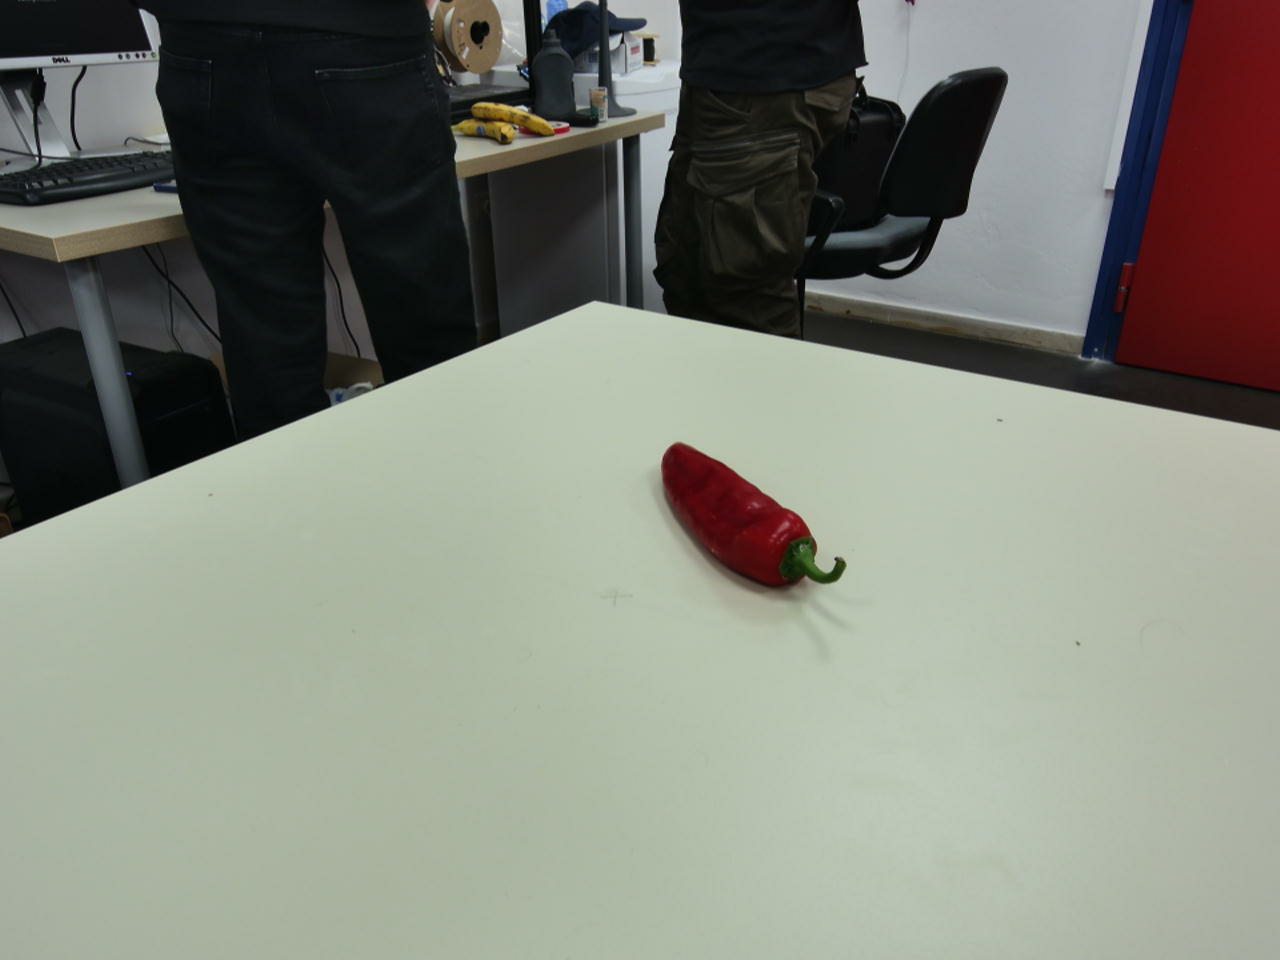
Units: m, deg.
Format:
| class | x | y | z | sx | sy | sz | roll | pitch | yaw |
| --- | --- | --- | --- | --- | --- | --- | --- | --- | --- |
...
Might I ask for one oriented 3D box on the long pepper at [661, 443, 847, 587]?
| class | x | y | z | sx | sy | sz | roll | pitch | yaw |
| --- | --- | --- | --- | --- | --- | --- | --- | --- | --- |
| long pepper | 0.056 | 0.018 | 0.608 | 0.050 | 0.043 | 0.211 | -10 | 27 | -20 |
